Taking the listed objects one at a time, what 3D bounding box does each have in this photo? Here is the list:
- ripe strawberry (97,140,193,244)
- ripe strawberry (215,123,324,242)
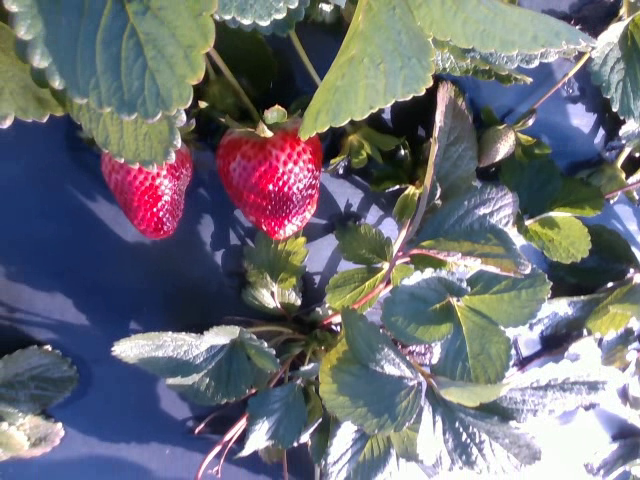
[{"bbox_3d":[-0.073,-0.021,0.251,0.043,0.052,0.036,-10,16,24],"label":"ripe strawberry"},{"bbox_3d":[-0.018,-0.025,0.263,0.052,0.057,0.046,-6,15,16],"label":"ripe strawberry"}]
